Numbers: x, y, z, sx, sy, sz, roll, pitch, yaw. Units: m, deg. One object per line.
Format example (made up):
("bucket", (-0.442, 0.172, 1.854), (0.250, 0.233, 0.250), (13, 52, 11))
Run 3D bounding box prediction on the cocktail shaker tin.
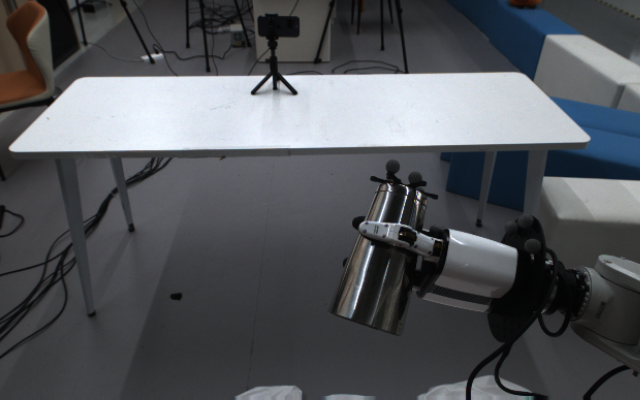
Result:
("cocktail shaker tin", (0.080, 0.070, 0.595), (0.093, 0.093, 0.170), (14, 75, 17))
